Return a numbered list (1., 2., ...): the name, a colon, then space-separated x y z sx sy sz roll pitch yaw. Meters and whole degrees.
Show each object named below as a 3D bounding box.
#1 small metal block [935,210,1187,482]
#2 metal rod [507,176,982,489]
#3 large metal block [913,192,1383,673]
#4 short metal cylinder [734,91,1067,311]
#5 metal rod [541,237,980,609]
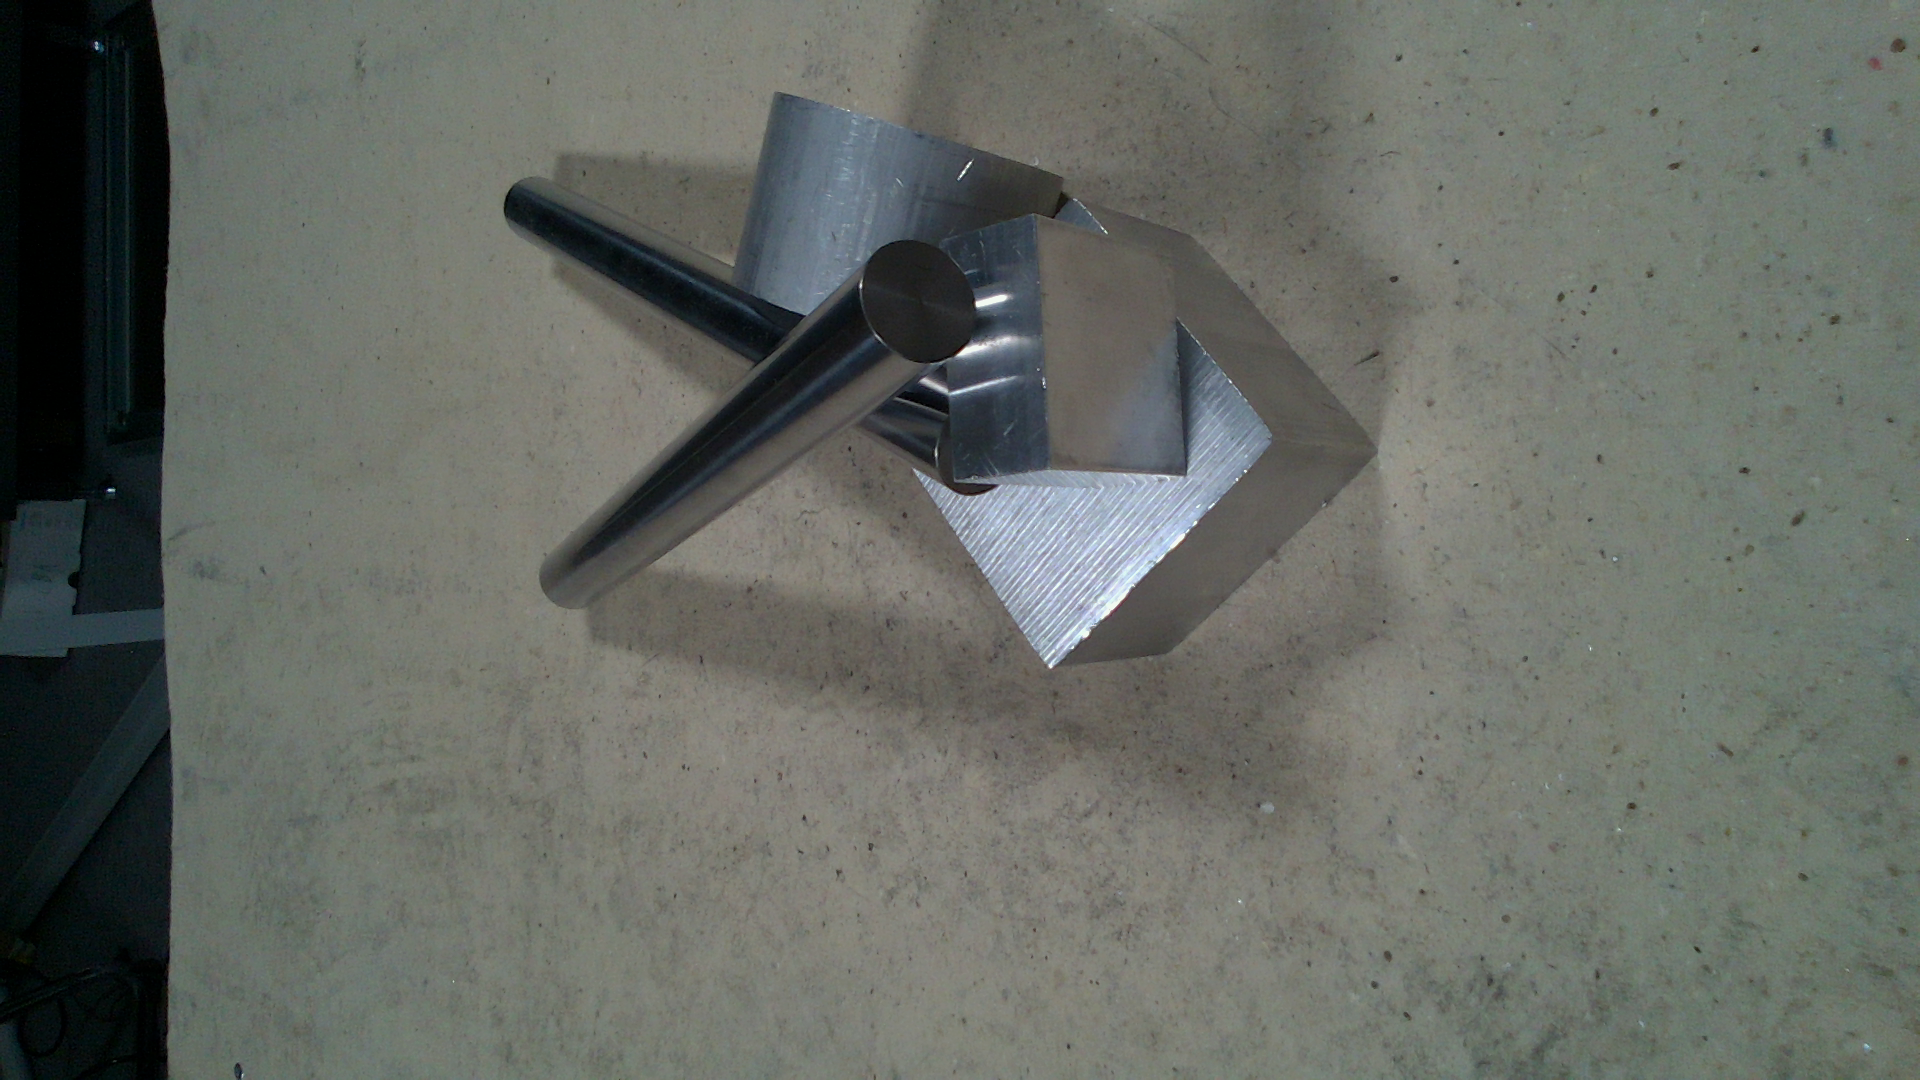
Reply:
1. small metal block: 0.022 -0.038 0.290 0.025 0.050 0.050 -6 87 41
2. metal rod: -0.079 -0.076 0.424 0.299 0.025 0.025 32 110 48
3. large metal block: 0.041 -0.025 0.342 0.080 0.050 0.080 -50 60 30
4. short metal cylinder: -0.016 -0.085 0.374 0.080 0.080 0.050 26 107 37
5. metal rod: -0.077 -0.016 0.390 0.299 0.025 0.025 -23 74 60
